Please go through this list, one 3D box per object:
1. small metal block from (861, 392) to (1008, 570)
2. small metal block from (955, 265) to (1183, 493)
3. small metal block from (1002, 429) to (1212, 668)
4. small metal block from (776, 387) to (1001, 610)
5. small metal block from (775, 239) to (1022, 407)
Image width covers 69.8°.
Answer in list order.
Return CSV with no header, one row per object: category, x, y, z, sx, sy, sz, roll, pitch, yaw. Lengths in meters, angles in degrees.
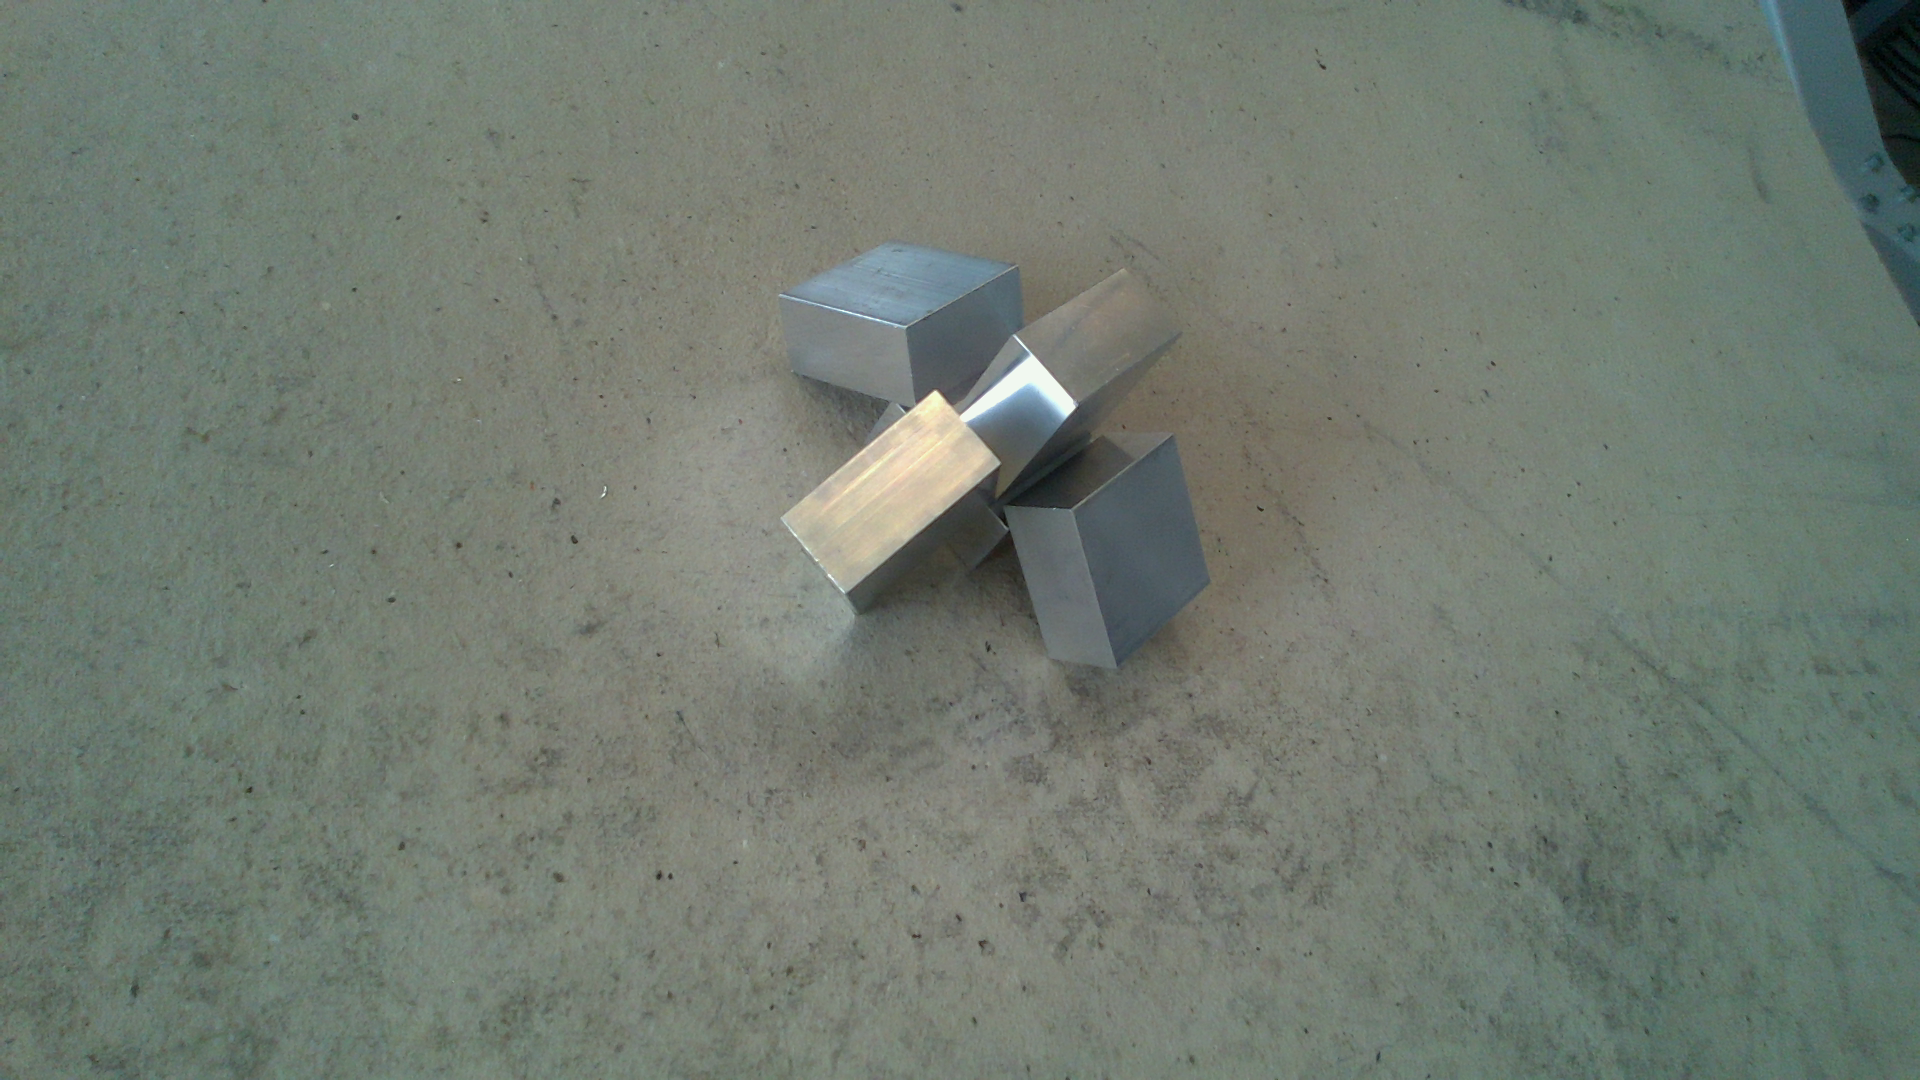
small metal block,0.007,-0.028,0.411,0.050,0.025,0.050,49,54,7
small metal block,0.027,-0.043,0.383,0.025,0.050,0.050,49,52,6
small metal block,0.044,0.001,0.397,0.050,0.025,0.050,-37,119,-38
small metal block,-0.018,-0.008,0.358,0.050,0.050,0.025,-40,84,-6
small metal block,-0.017,-0.065,0.405,0.050,0.025,0.050,20,41,36
